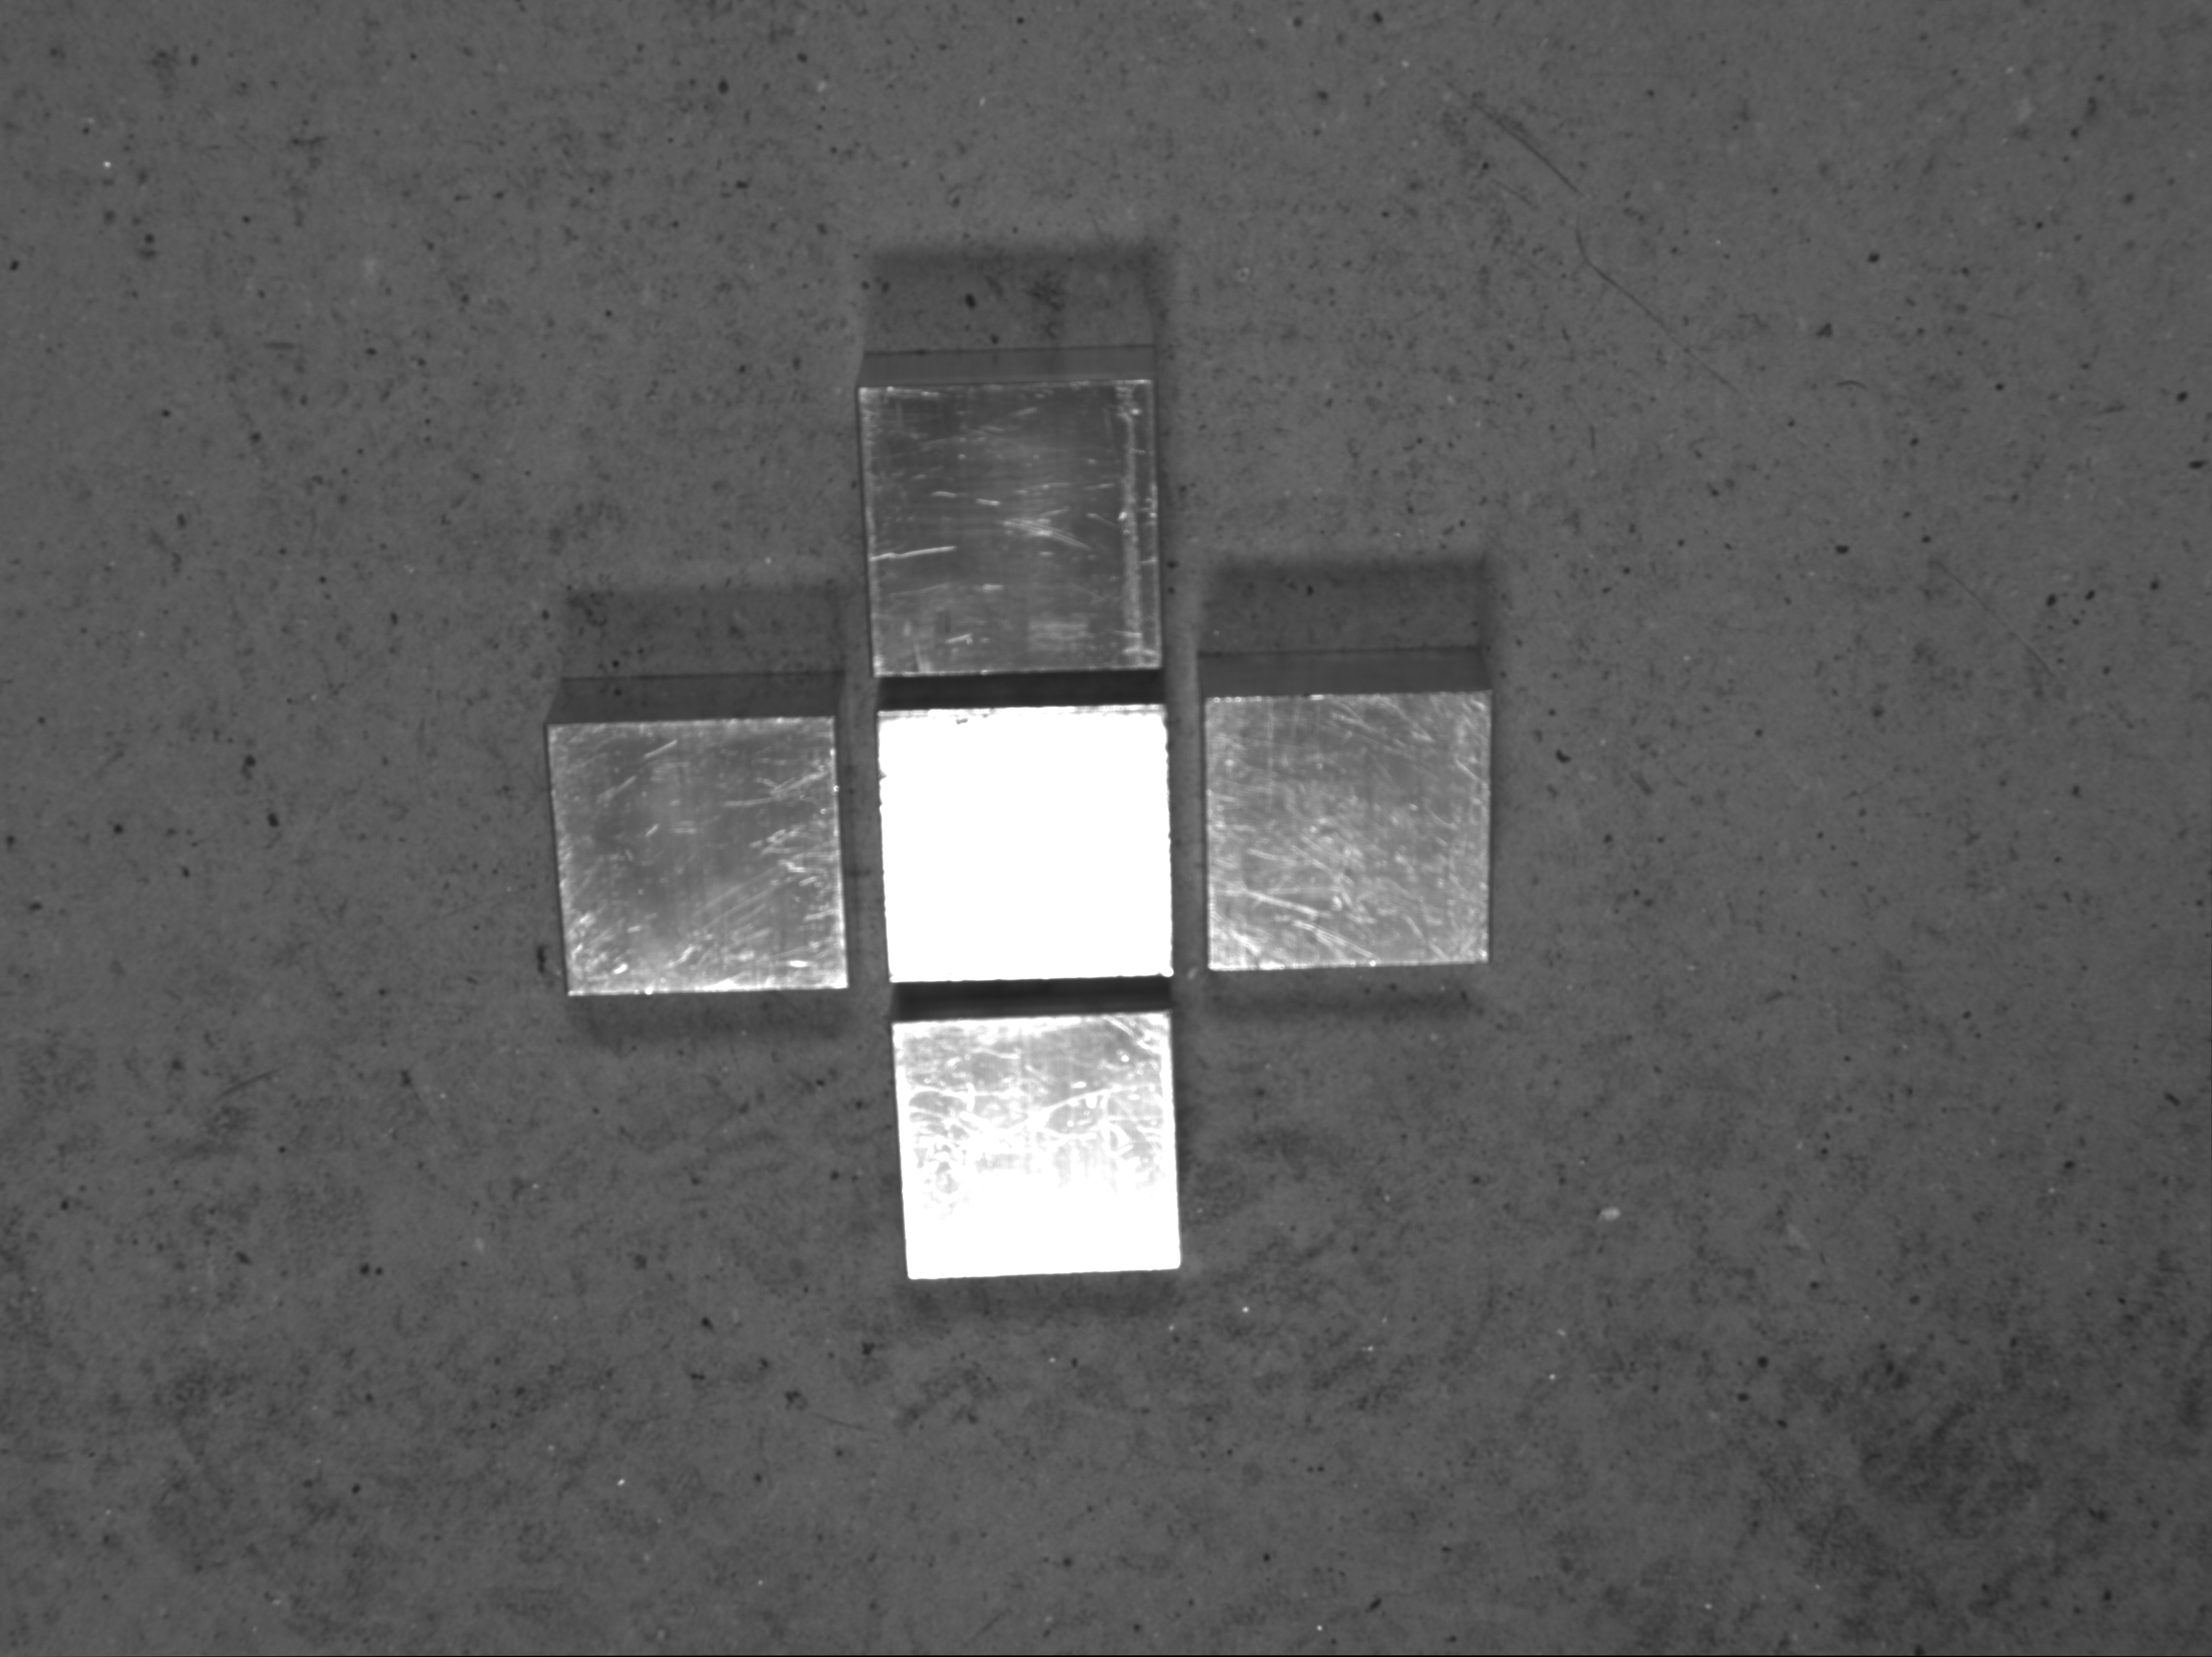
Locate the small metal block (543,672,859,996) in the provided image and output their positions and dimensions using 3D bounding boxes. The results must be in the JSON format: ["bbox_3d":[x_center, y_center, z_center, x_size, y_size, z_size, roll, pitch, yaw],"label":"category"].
[{"bbox_3d":[-0.070,0.001,0.643,0.050,0.025,0.050,-2,110,0],"label":"small metal block"}]

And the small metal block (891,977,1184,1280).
[{"bbox_3d":[-0.012,0.053,0.662,0.050,0.025,0.050,-2,110,0],"label":"small metal block"}]

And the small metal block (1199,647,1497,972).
[{"bbox_3d":[0.042,-0.003,0.643,0.050,0.025,0.050,-2,110,0],"label":"small metal block"}]

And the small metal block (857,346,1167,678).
[{"bbox_3d":[-0.015,-0.054,0.624,0.050,0.025,0.050,-2,110,0],"label":"small metal block"}]

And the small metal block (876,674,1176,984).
[{"bbox_3d":[-0.014,-0.001,0.643,0.050,0.025,0.050,-2,110,0],"label":"small metal block"}]
